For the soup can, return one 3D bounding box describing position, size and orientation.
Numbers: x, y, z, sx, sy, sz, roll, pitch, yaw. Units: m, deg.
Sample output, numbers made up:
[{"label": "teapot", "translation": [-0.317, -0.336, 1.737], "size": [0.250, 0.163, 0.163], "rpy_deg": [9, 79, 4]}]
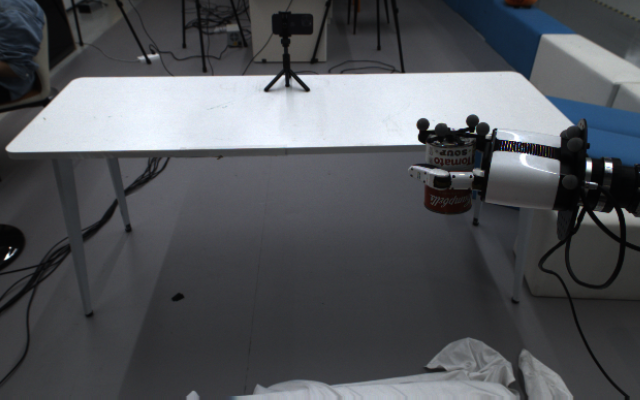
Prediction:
[{"label": "soup can", "translation": [0.183, -0.040, 0.679], "size": [0.067, 0.101, 0.067], "rpy_deg": [-4, 25, 2]}]
